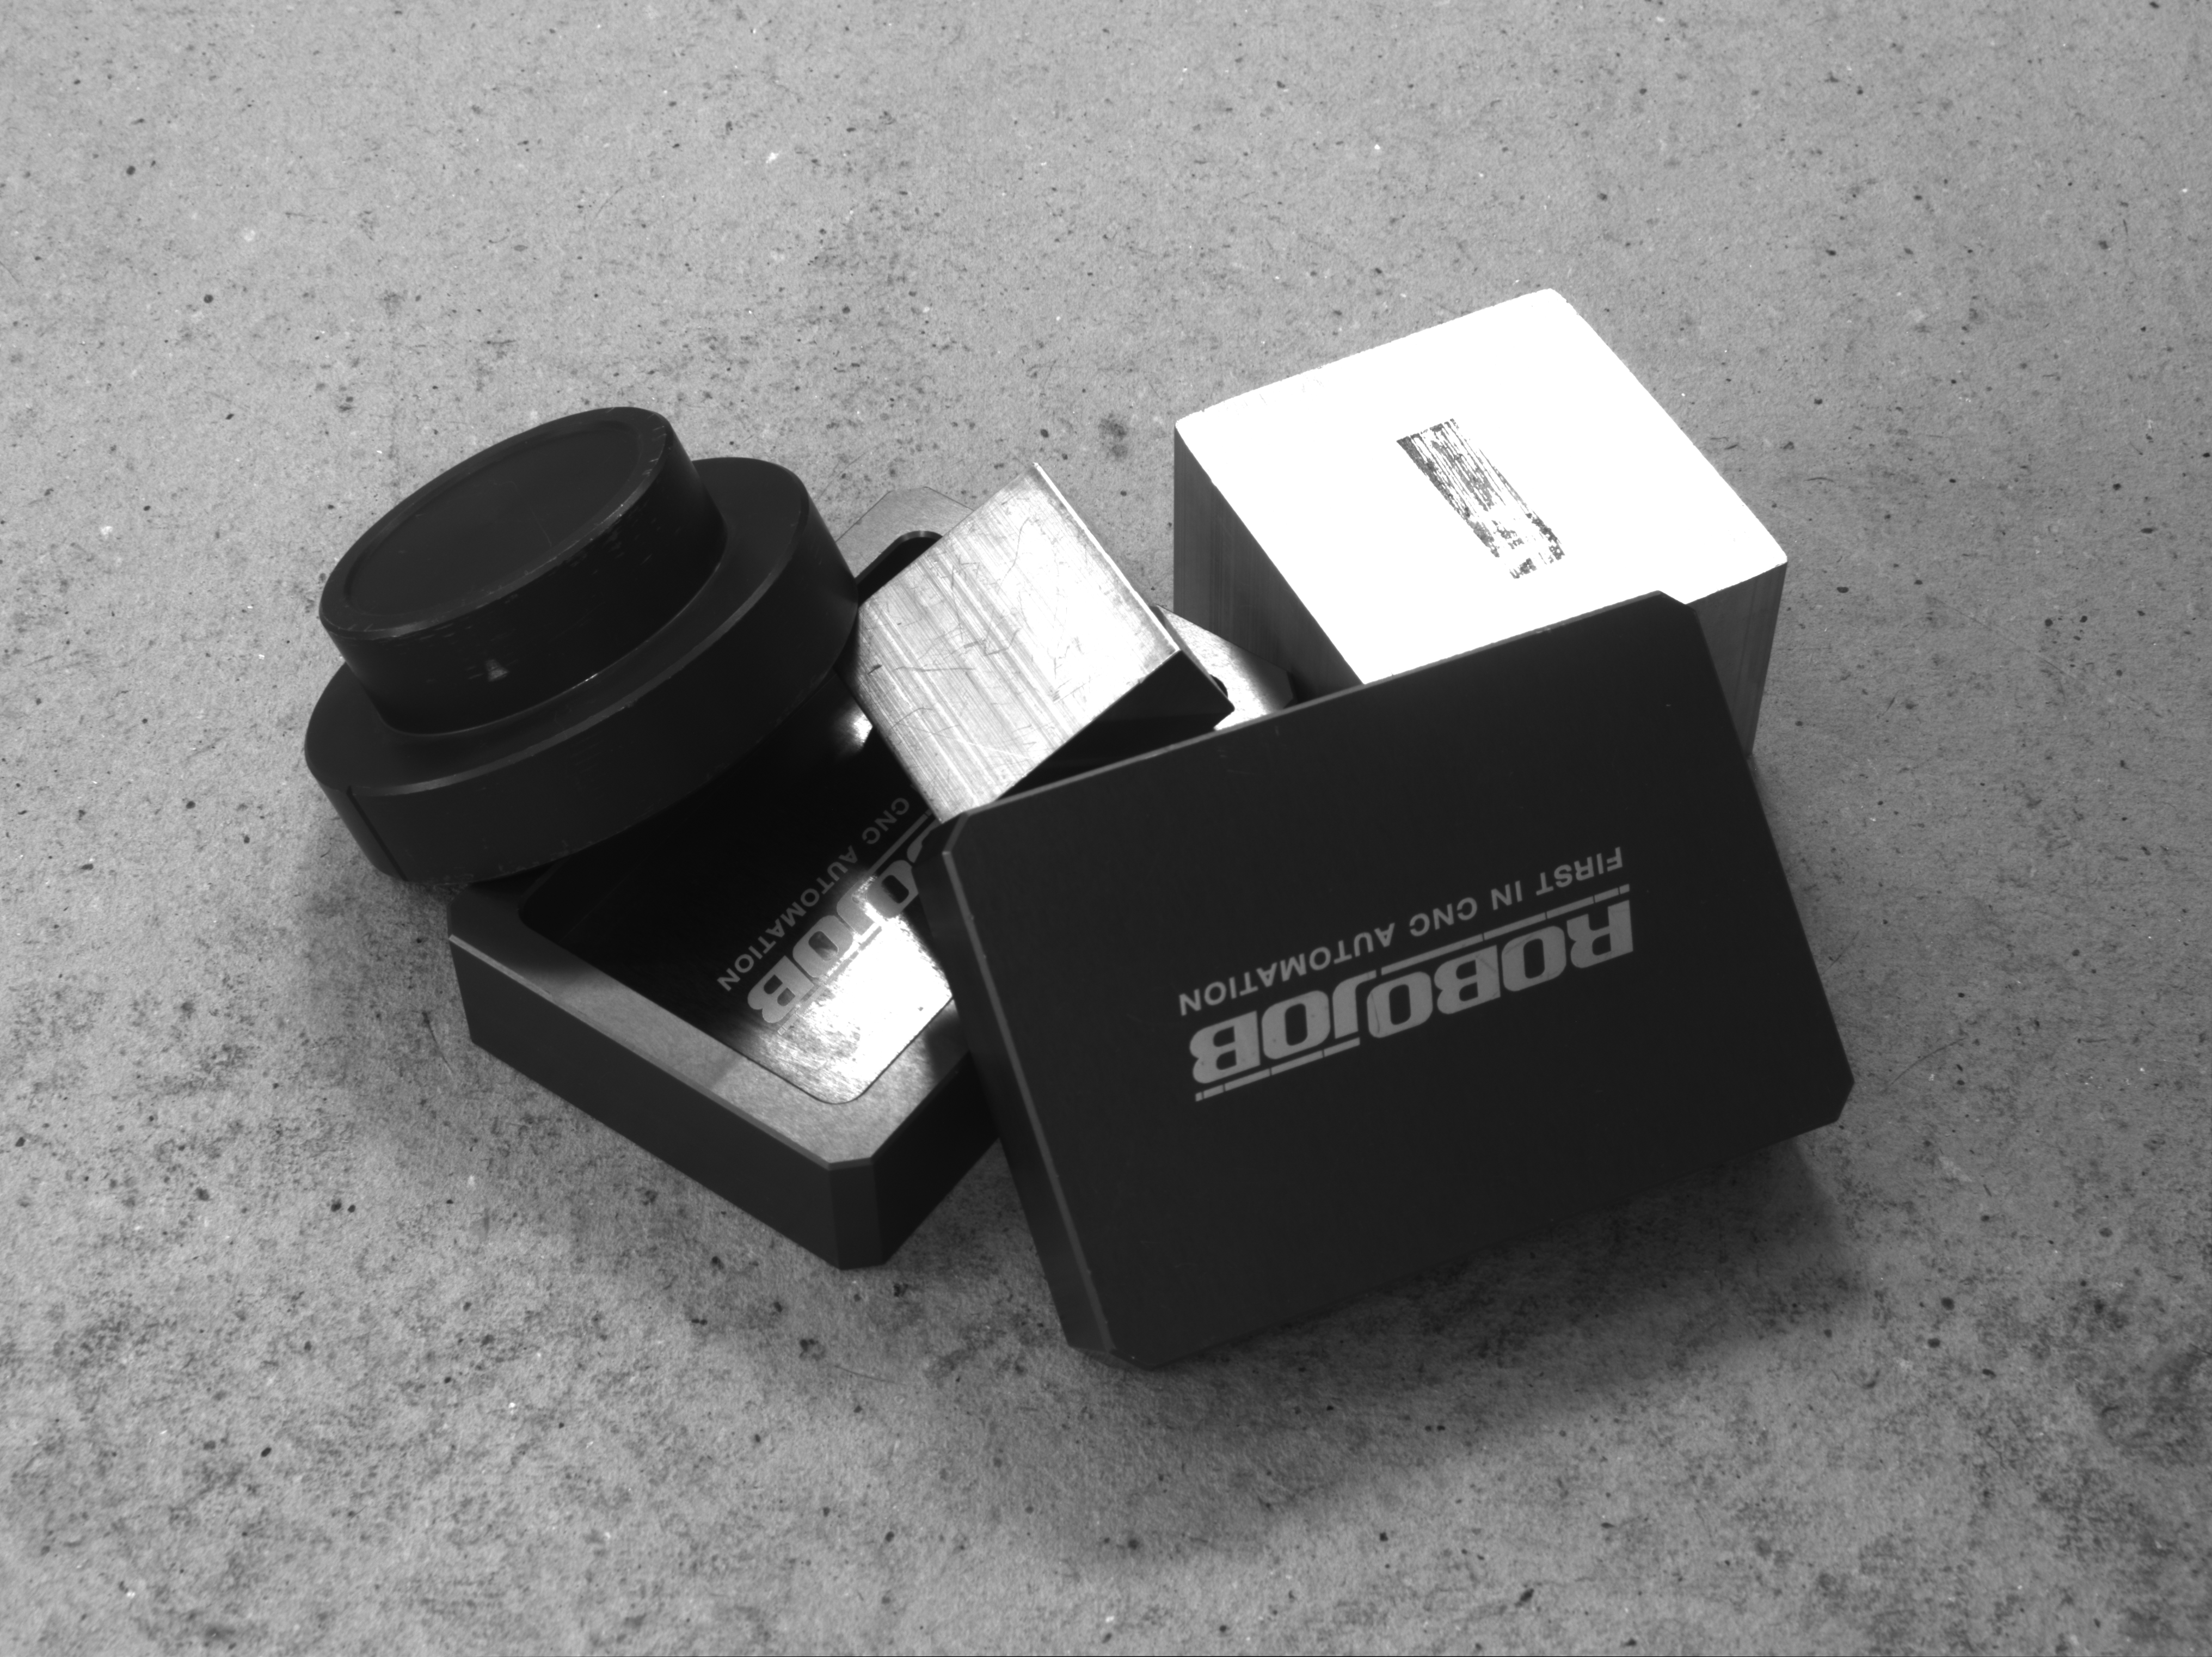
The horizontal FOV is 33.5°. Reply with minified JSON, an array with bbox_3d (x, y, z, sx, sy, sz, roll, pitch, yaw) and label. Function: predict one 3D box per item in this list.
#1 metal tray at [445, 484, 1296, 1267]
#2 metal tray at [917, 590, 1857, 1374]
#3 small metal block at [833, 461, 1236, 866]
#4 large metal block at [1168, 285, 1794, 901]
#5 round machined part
[{"bbox_3d":[-0.038,0.004,0.635,0.090,0.030,0.130,28,55,22],"label":"metal tray"},{"bbox_3d":[0.045,0.024,0.589,0.130,0.030,0.090,-18,88,-14],"label":"metal tray"},{"bbox_3d":[-0.014,-0.026,0.635,0.050,0.025,0.050,-39,58,5],"label":"small metal block"},{"bbox_3d":[0.065,-0.043,0.663,0.080,0.050,0.080,-21,53,-17],"label":"large metal block"},{"bbox_3d":[-0.096,-0.037,0.636,0.098,0.042,0.098,-21,29,12],"label":"round machined part"}]
